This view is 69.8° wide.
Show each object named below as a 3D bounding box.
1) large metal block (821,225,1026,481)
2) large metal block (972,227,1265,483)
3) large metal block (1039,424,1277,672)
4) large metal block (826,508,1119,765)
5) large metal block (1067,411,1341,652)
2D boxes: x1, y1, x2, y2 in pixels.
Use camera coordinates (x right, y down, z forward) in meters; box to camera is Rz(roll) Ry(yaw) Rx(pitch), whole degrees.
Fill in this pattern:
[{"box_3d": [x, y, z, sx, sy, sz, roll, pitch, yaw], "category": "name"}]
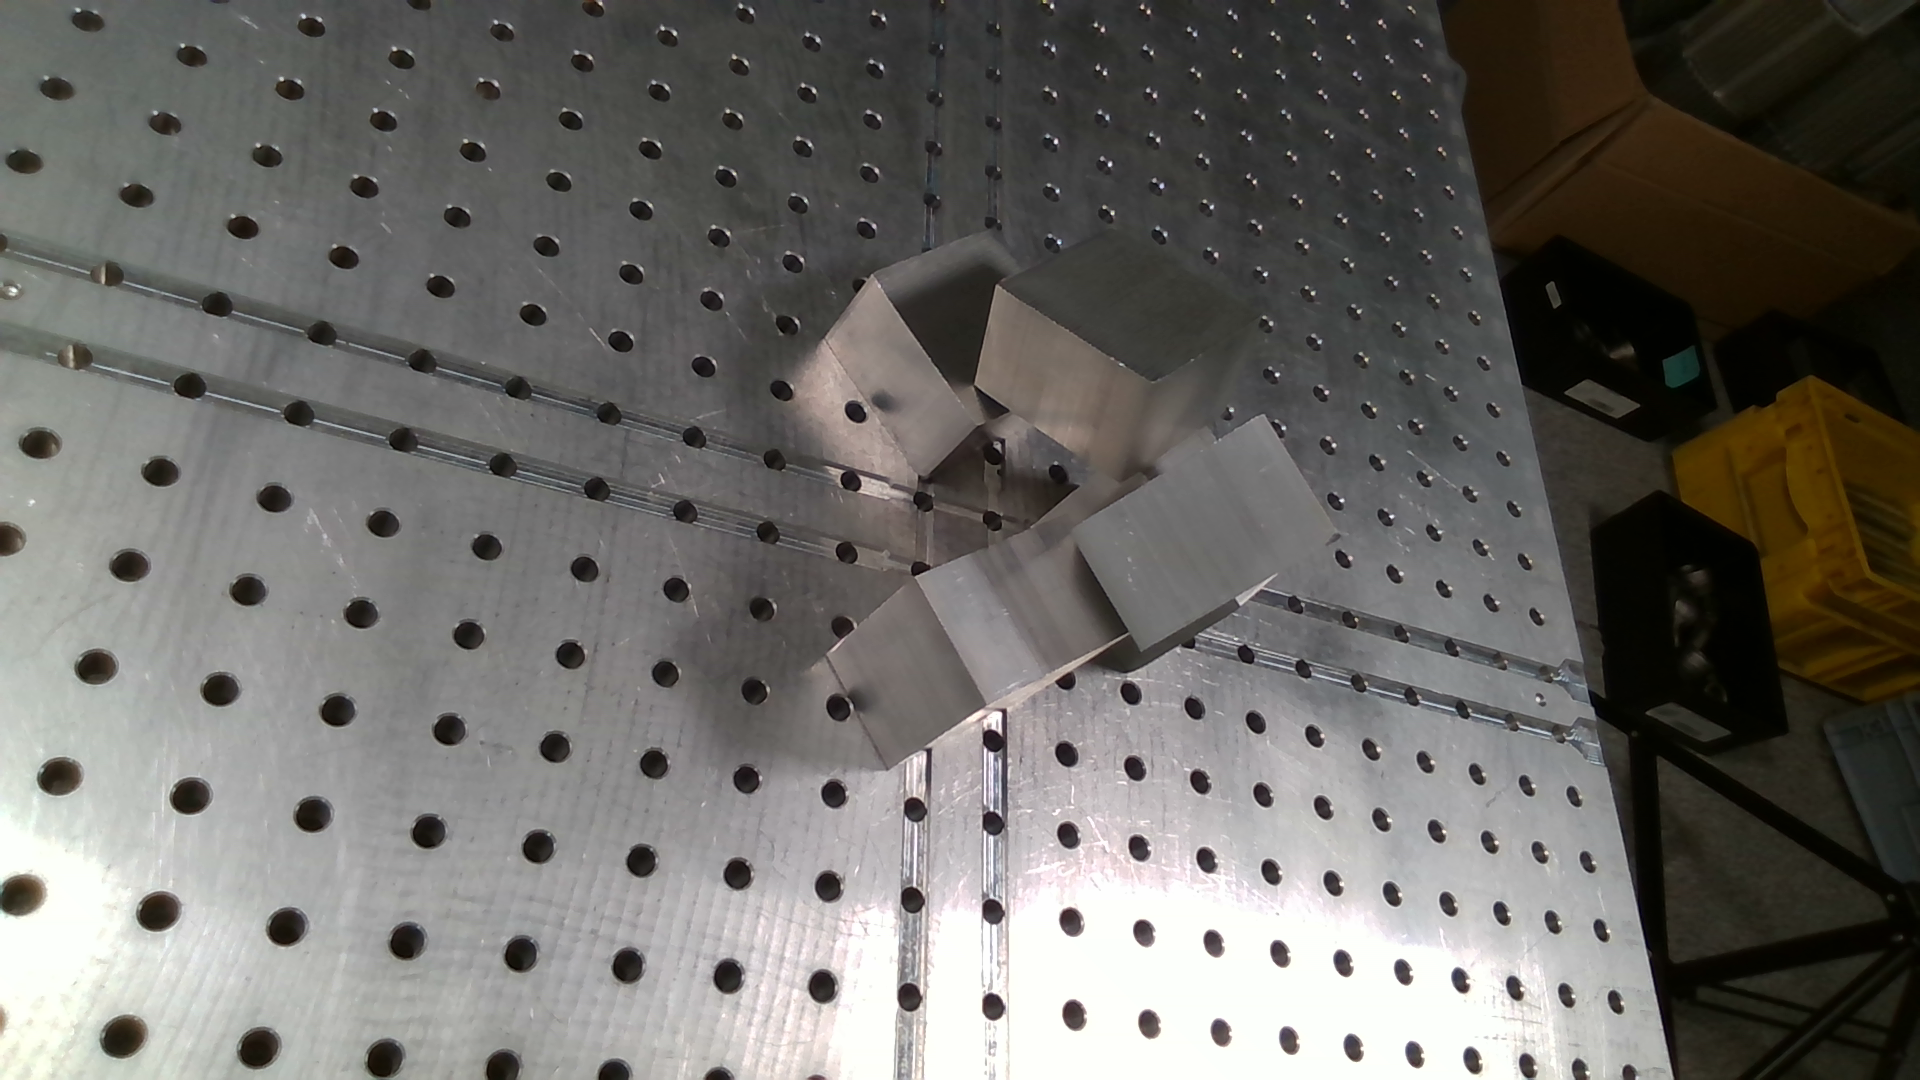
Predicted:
[{"box_3d": [-0.001, -0.085, 0.617, 0.080, 0.050, 0.080, -30, 83, -39], "category": "large metal block"}, {"box_3d": [0.065, -0.079, 0.571, 0.080, 0.050, 0.080, 36, 47, 23], "category": "large metal block"}, {"box_3d": [0.089, 0.000, 0.606, 0.050, 0.080, 0.080, -33, 85, -39], "category": "large metal block"}, {"box_3d": [0.007, 0.038, 0.536, 0.080, 0.080, 0.050, -23, 78, -38], "category": "large metal block"}, {"box_3d": [0.091, -0.004, 0.520, 0.050, 0.080, 0.080, 59, 9, 3], "category": "large metal block"}]
